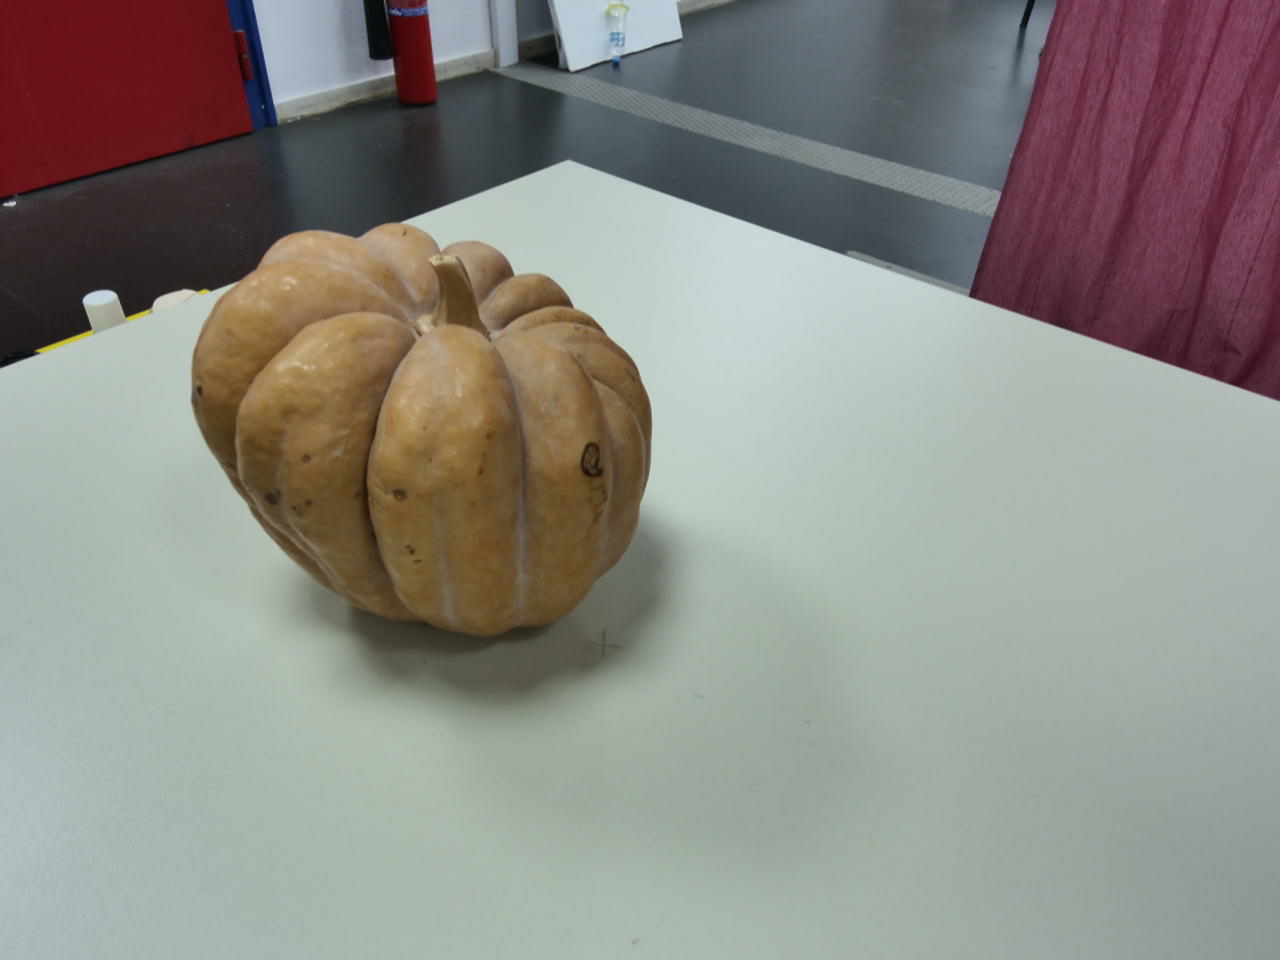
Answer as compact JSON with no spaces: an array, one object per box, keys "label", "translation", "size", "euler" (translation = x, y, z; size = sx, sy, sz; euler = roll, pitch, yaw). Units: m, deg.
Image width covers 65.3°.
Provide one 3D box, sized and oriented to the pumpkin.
[{"label":"pumpkin","translation":[-0.091,-0.021,0.448],"size":[0.199,0.177,0.198],"euler":[1,37,-1]}]
